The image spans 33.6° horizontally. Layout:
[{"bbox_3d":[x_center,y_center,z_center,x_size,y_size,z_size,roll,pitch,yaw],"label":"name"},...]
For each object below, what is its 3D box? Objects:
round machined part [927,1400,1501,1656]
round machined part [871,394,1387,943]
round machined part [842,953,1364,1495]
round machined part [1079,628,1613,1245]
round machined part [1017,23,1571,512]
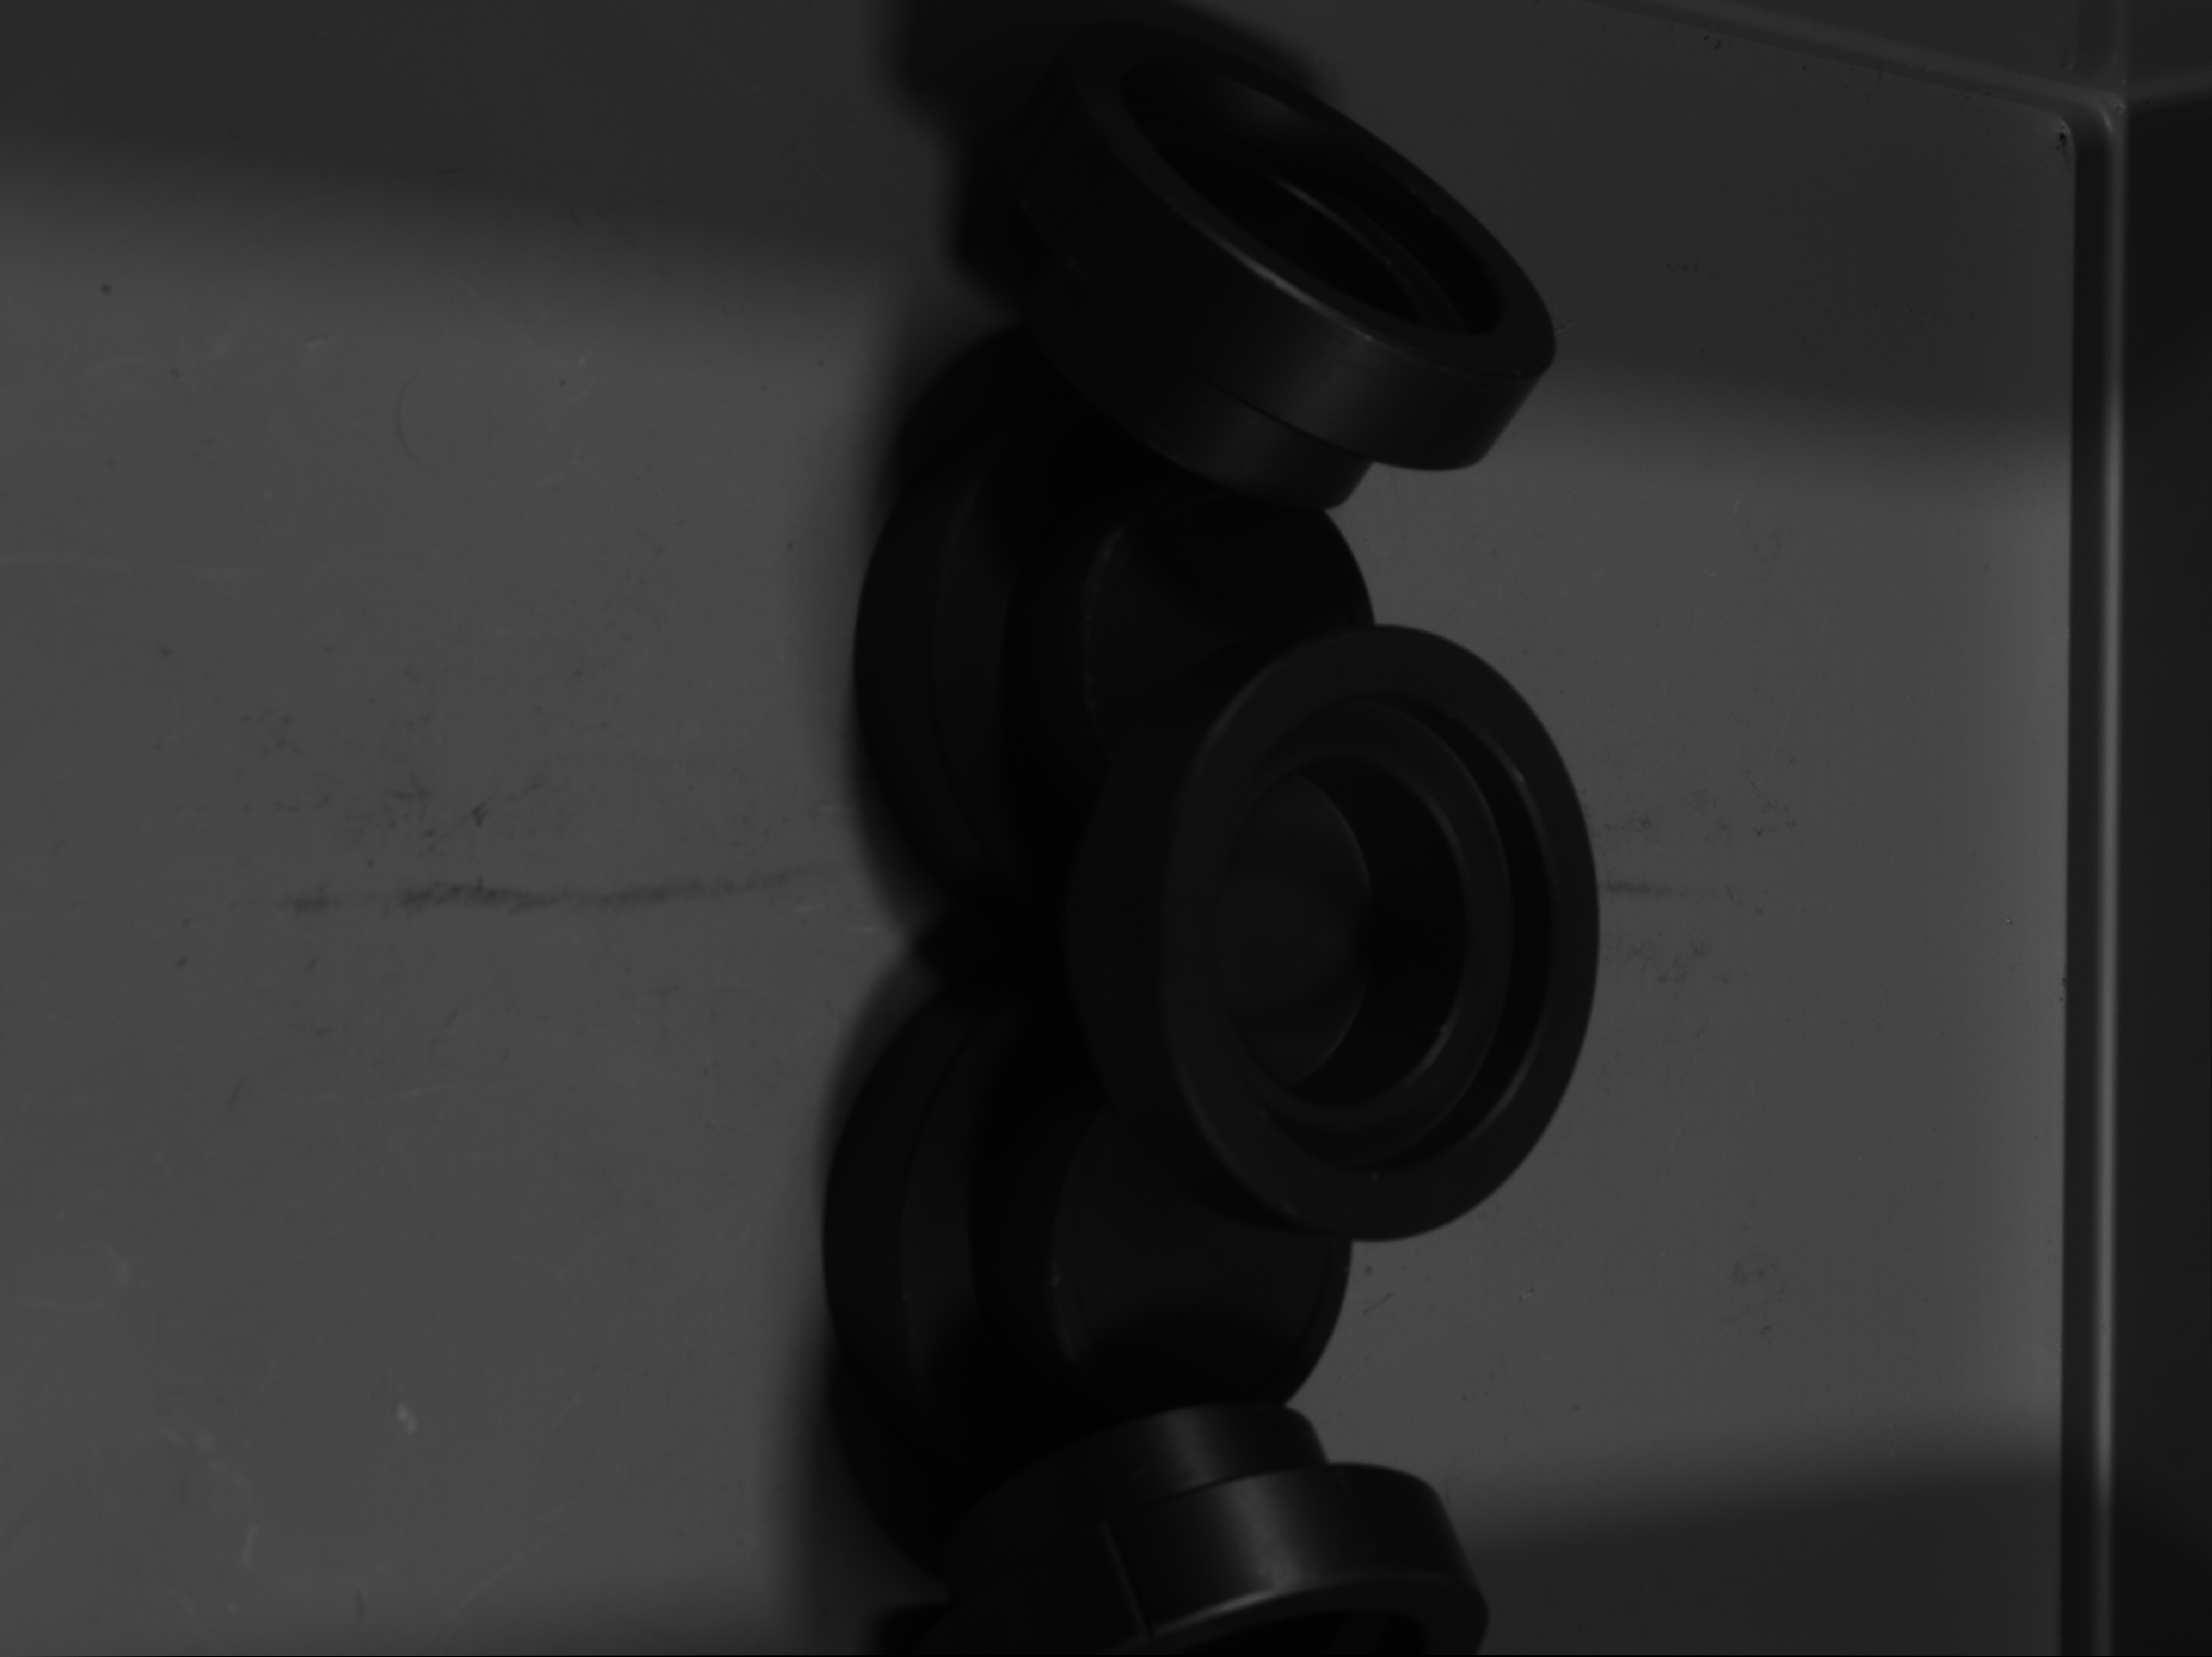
[{"bbox_3d":[0.013,0.131,0.612,0.098,0.098,0.042,8,47,-39],"label":"round machined part"},{"bbox_3d":[0.011,-0.028,0.633,0.098,0.042,0.098,0,90,-40],"label":"round machined part"},{"bbox_3d":[0.006,0.070,0.629,0.098,0.042,0.098,0,90,-40],"label":"round machined part"},{"bbox_3d":[0.034,0.017,0.597,0.098,0.042,0.098,0,90,-40],"label":"round machined part"},{"bbox_3d":[0.027,-0.091,0.623,0.098,0.098,0.042,9,126,-39],"label":"round machined part"}]
